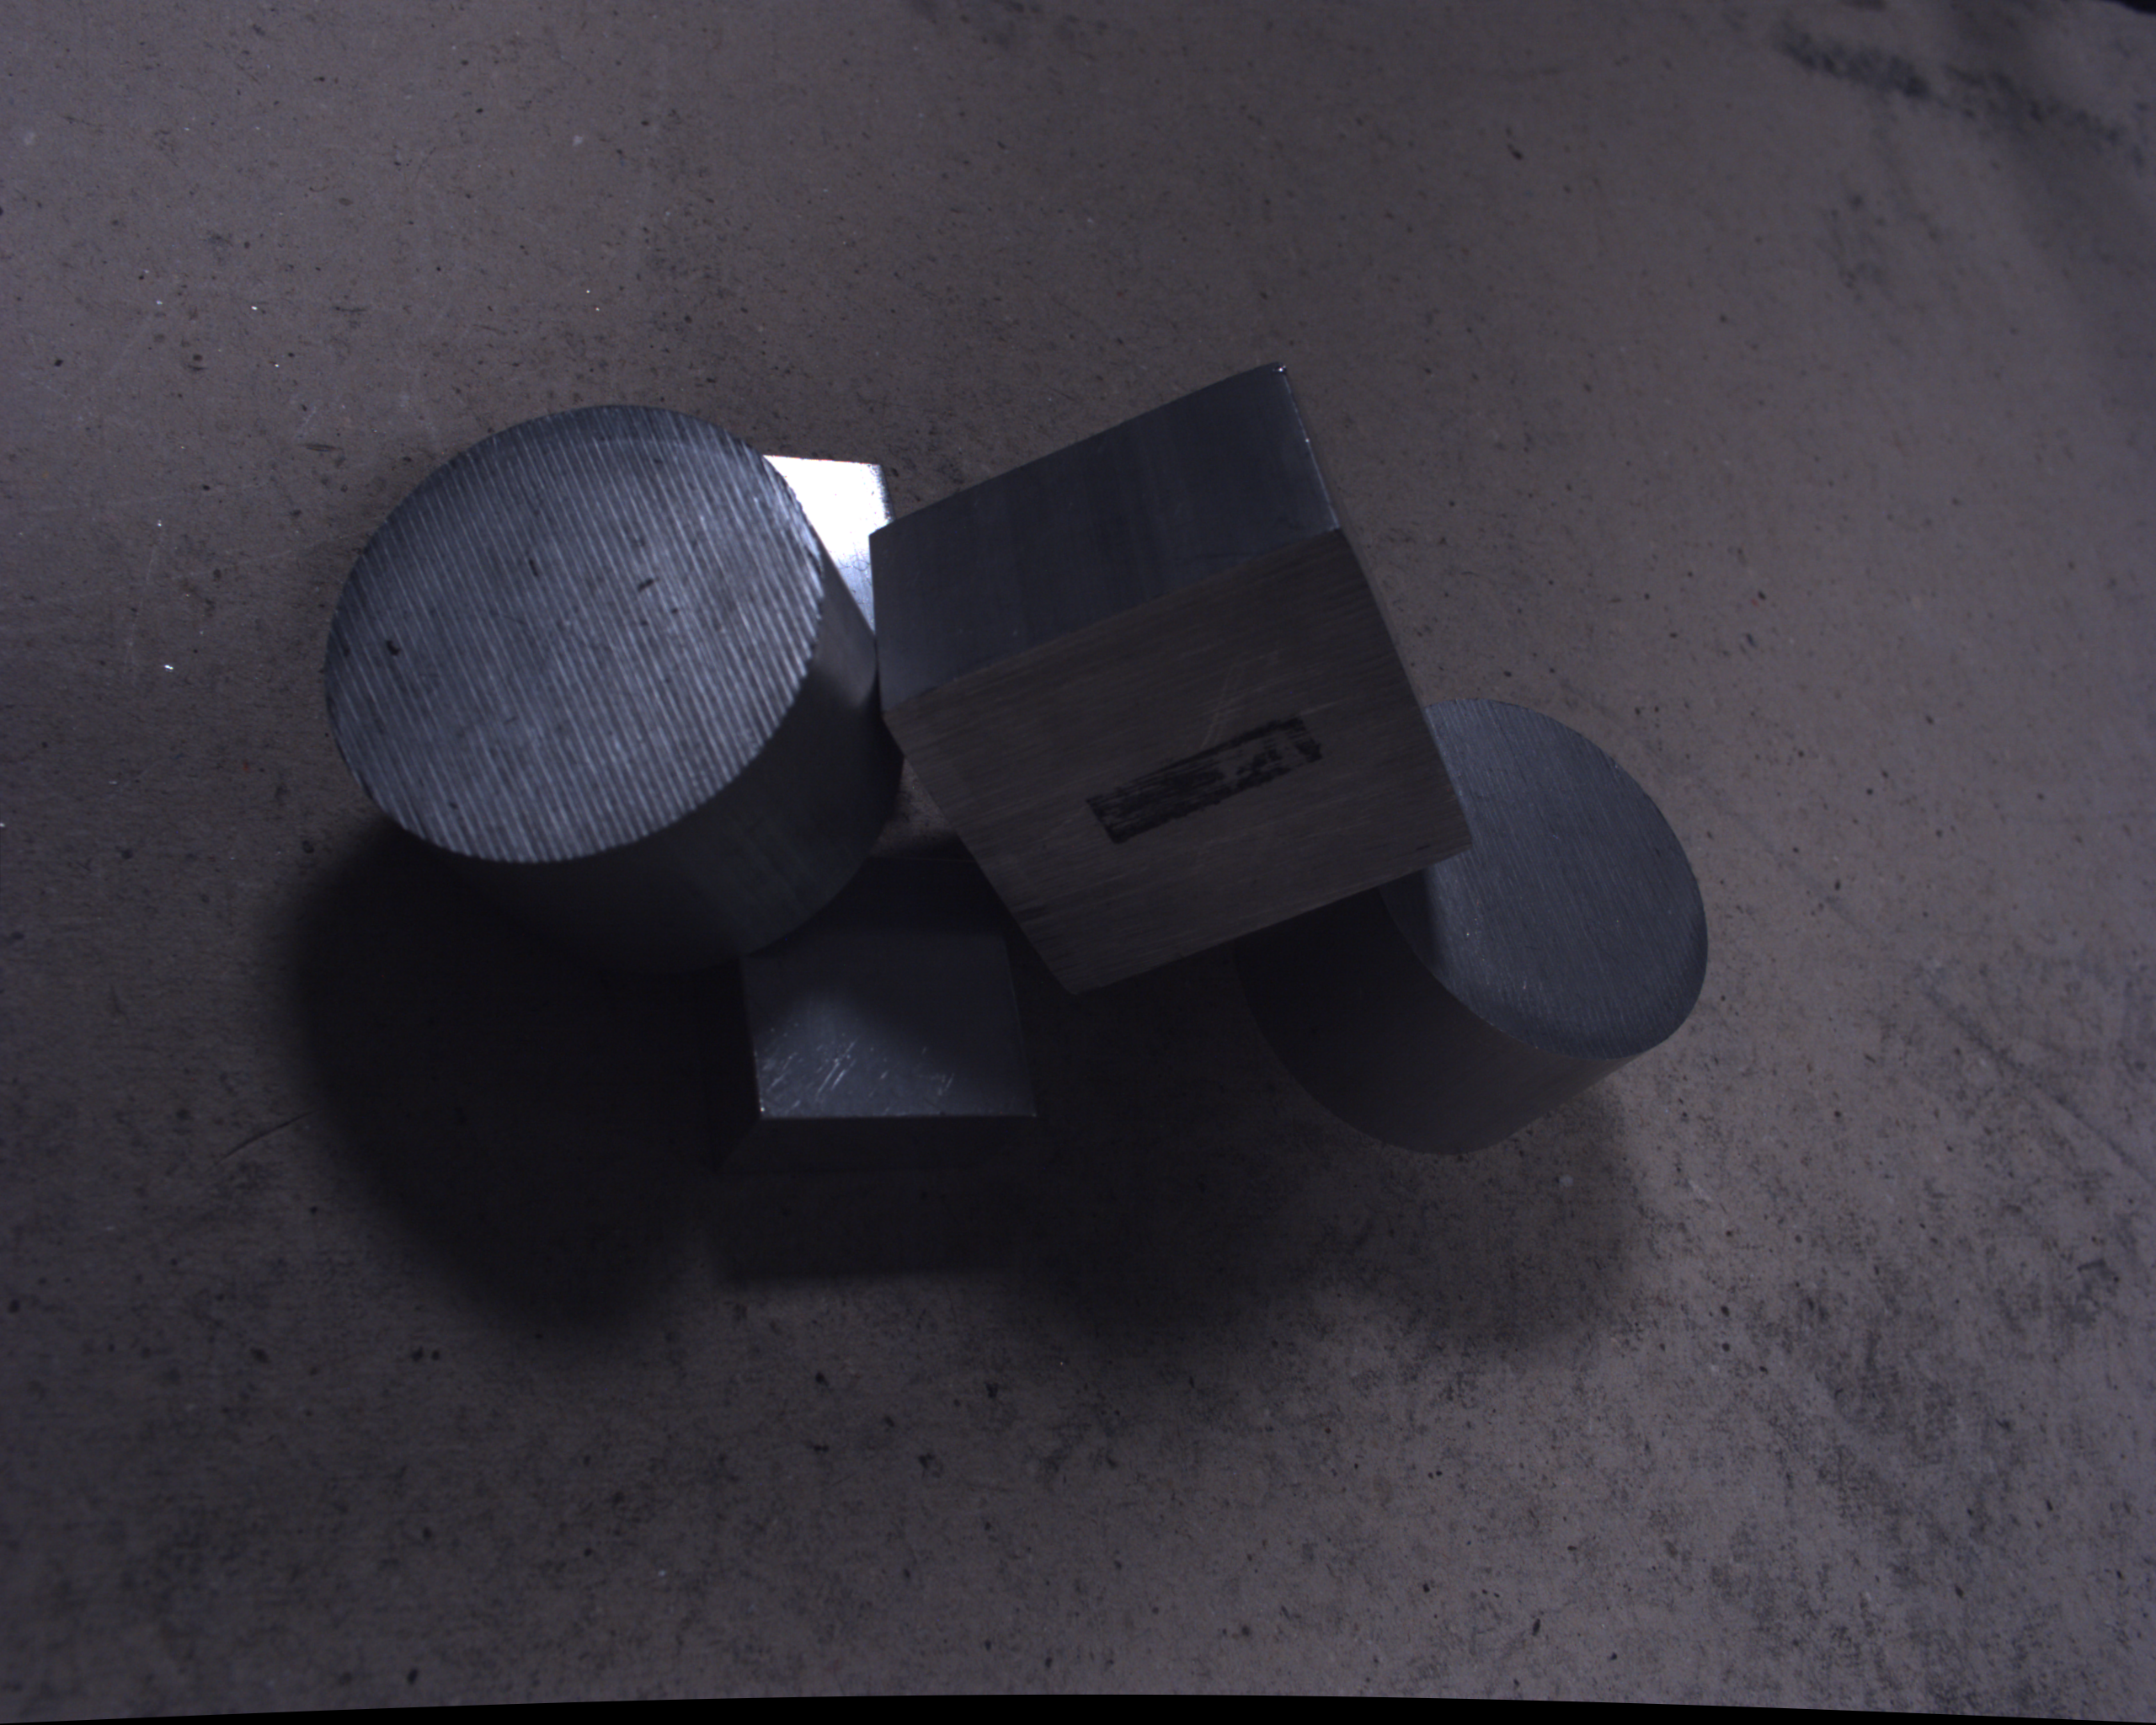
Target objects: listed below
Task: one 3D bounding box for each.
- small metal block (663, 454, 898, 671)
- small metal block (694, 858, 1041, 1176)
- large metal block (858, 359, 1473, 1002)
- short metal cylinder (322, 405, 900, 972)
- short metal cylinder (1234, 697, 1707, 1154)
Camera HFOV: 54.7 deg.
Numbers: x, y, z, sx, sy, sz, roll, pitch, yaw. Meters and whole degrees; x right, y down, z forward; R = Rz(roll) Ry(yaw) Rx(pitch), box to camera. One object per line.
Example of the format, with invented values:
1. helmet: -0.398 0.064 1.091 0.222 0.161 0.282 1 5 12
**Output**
1. small metal block: -0.060 -0.052 0.405 0.050 0.025 0.050 -1 62 -29
2. small metal block: -0.039 0.027 0.369 0.050 0.025 0.050 3 61 -27
3. large metal block: 0.016 -0.030 0.375 0.050 0.080 0.080 -100 164 -45
4. short metal cylinder: -0.074 -0.028 0.344 0.080 0.050 0.080 -3 68 9
5. short metal cylinder: 0.079 0.013 0.426 0.081 0.050 0.080 14 56 -21
